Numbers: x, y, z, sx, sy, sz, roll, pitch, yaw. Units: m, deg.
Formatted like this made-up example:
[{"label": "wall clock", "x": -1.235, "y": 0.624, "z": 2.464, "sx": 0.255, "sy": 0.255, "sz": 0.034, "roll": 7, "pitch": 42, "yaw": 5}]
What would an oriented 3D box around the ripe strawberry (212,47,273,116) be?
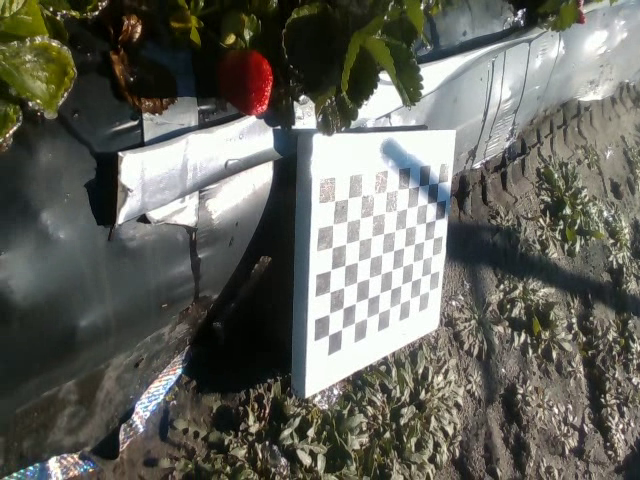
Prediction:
[{"label": "ripe strawberry", "x": -0.060, "y": -0.130, "z": 0.527, "sx": 0.058, "sy": 0.065, "sz": 0.061, "roll": -31, "pitch": -35, "yaw": 16}]
